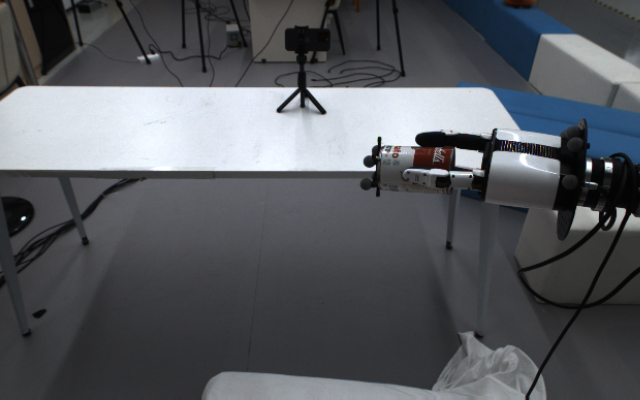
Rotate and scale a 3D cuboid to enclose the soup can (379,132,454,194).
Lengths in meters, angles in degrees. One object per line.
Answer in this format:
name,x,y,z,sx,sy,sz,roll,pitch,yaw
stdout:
soup can,0.141,-0.045,0.696,0.101,0.067,0.067,4,34,18
